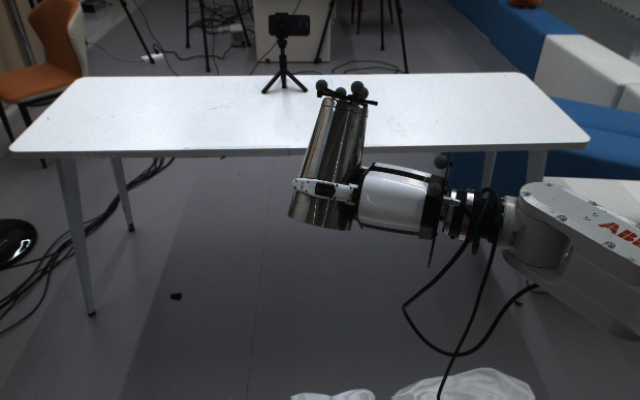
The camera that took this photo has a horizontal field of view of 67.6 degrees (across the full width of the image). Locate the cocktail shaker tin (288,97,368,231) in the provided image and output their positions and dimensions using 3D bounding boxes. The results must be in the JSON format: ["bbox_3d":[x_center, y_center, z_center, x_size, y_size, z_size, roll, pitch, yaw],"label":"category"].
[{"bbox_3d":[0.017,-0.051,0.680,0.093,0.170,0.093,13,4,-1],"label":"cocktail shaker tin"}]
